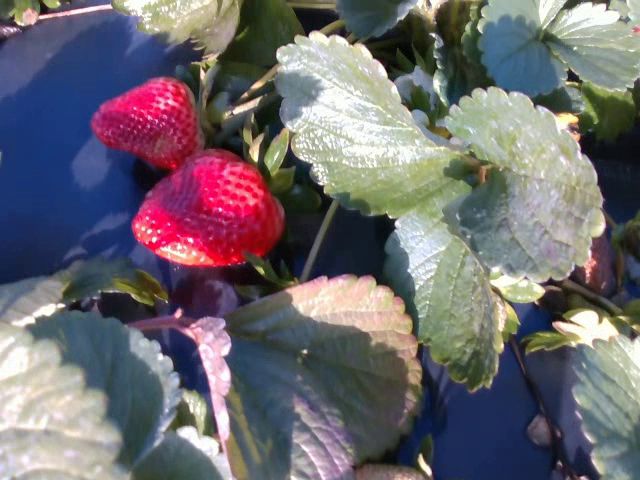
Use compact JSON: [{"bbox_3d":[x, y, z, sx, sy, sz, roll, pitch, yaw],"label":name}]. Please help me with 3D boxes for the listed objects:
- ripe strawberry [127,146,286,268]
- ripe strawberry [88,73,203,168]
[{"bbox_3d":[-0.043,-0.008,0.222,0.057,0.046,0.052,-27,34,-33],"label":"ripe strawberry"},{"bbox_3d":[-0.072,-0.048,0.249,0.043,0.037,0.051,12,35,43],"label":"ripe strawberry"}]
